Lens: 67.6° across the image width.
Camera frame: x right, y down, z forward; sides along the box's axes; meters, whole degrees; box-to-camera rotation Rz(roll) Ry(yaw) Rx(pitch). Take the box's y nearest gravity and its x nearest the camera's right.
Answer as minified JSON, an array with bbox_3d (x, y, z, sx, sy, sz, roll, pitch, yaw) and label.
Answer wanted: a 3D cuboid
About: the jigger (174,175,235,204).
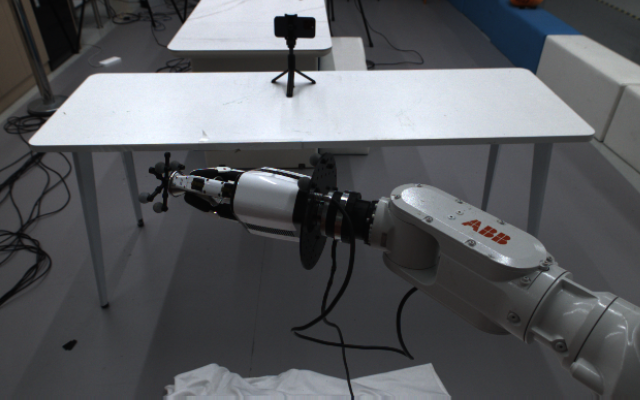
[{"bbox_3d":[-0.172,-0.021,0.693,0.071,0.043,0.043,10,35,16],"label":"jigger"}]
